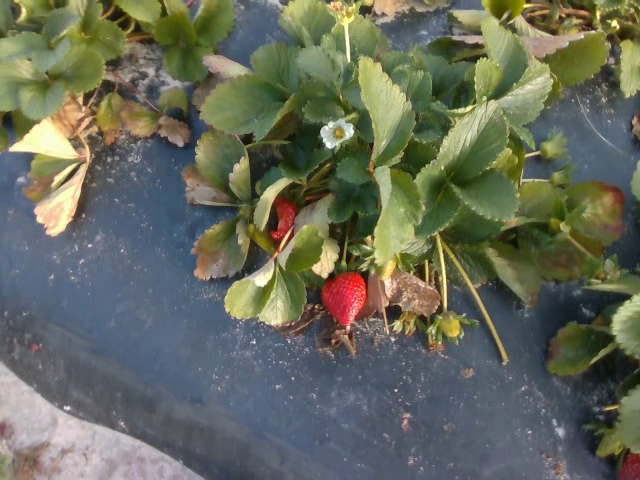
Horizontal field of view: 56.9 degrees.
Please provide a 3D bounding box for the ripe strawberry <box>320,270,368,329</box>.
[{"bbox_3d":[0.012,0.035,0.326,0.031,0.030,0.026,-10,-30,8],"label":"ripe strawberry"}]
